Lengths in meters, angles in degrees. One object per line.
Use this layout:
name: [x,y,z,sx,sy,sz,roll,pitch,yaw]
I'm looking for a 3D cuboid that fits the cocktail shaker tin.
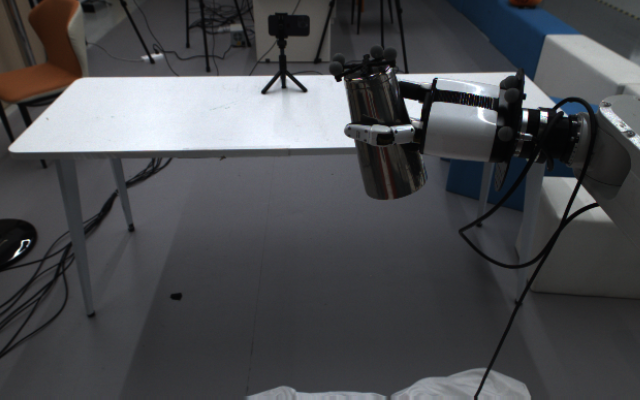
cocktail shaker tin: [0.086,-0.097,0.664,0.093,0.170,0.093,-15,29,8]
